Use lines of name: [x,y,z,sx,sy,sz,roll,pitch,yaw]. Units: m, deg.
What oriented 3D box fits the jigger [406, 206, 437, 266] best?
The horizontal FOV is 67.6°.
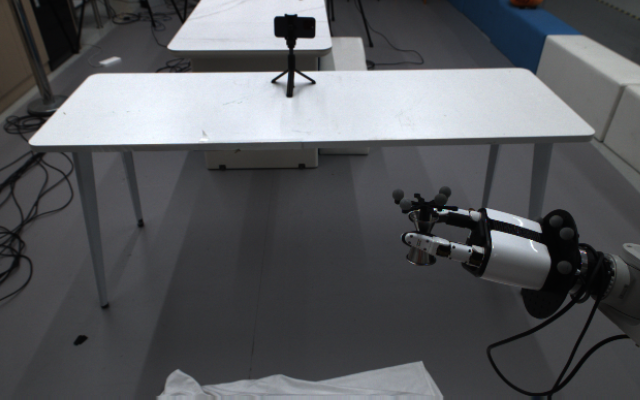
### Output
jigger: [0.147,0.054,0.698,0.043,0.071,0.043,0,21,0]
